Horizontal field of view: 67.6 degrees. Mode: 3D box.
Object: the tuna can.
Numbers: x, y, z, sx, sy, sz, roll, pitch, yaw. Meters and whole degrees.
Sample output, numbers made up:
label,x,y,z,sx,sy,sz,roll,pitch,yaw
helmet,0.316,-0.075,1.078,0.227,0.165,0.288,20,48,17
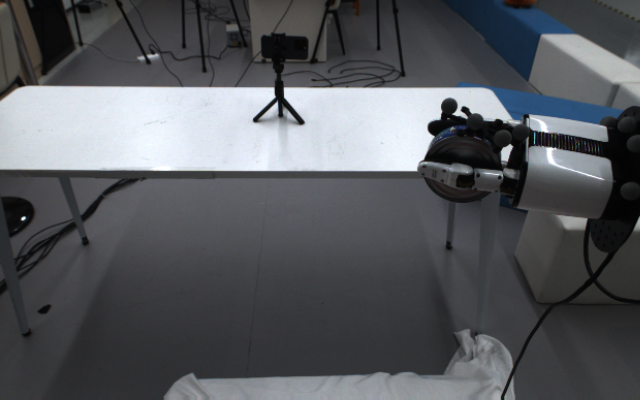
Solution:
label,x,y,z,sx,sy,sz,roll,pitch,yaw
tuna can,0.165,-0.044,0.556,0.085,0.085,0.034,12,33,14
